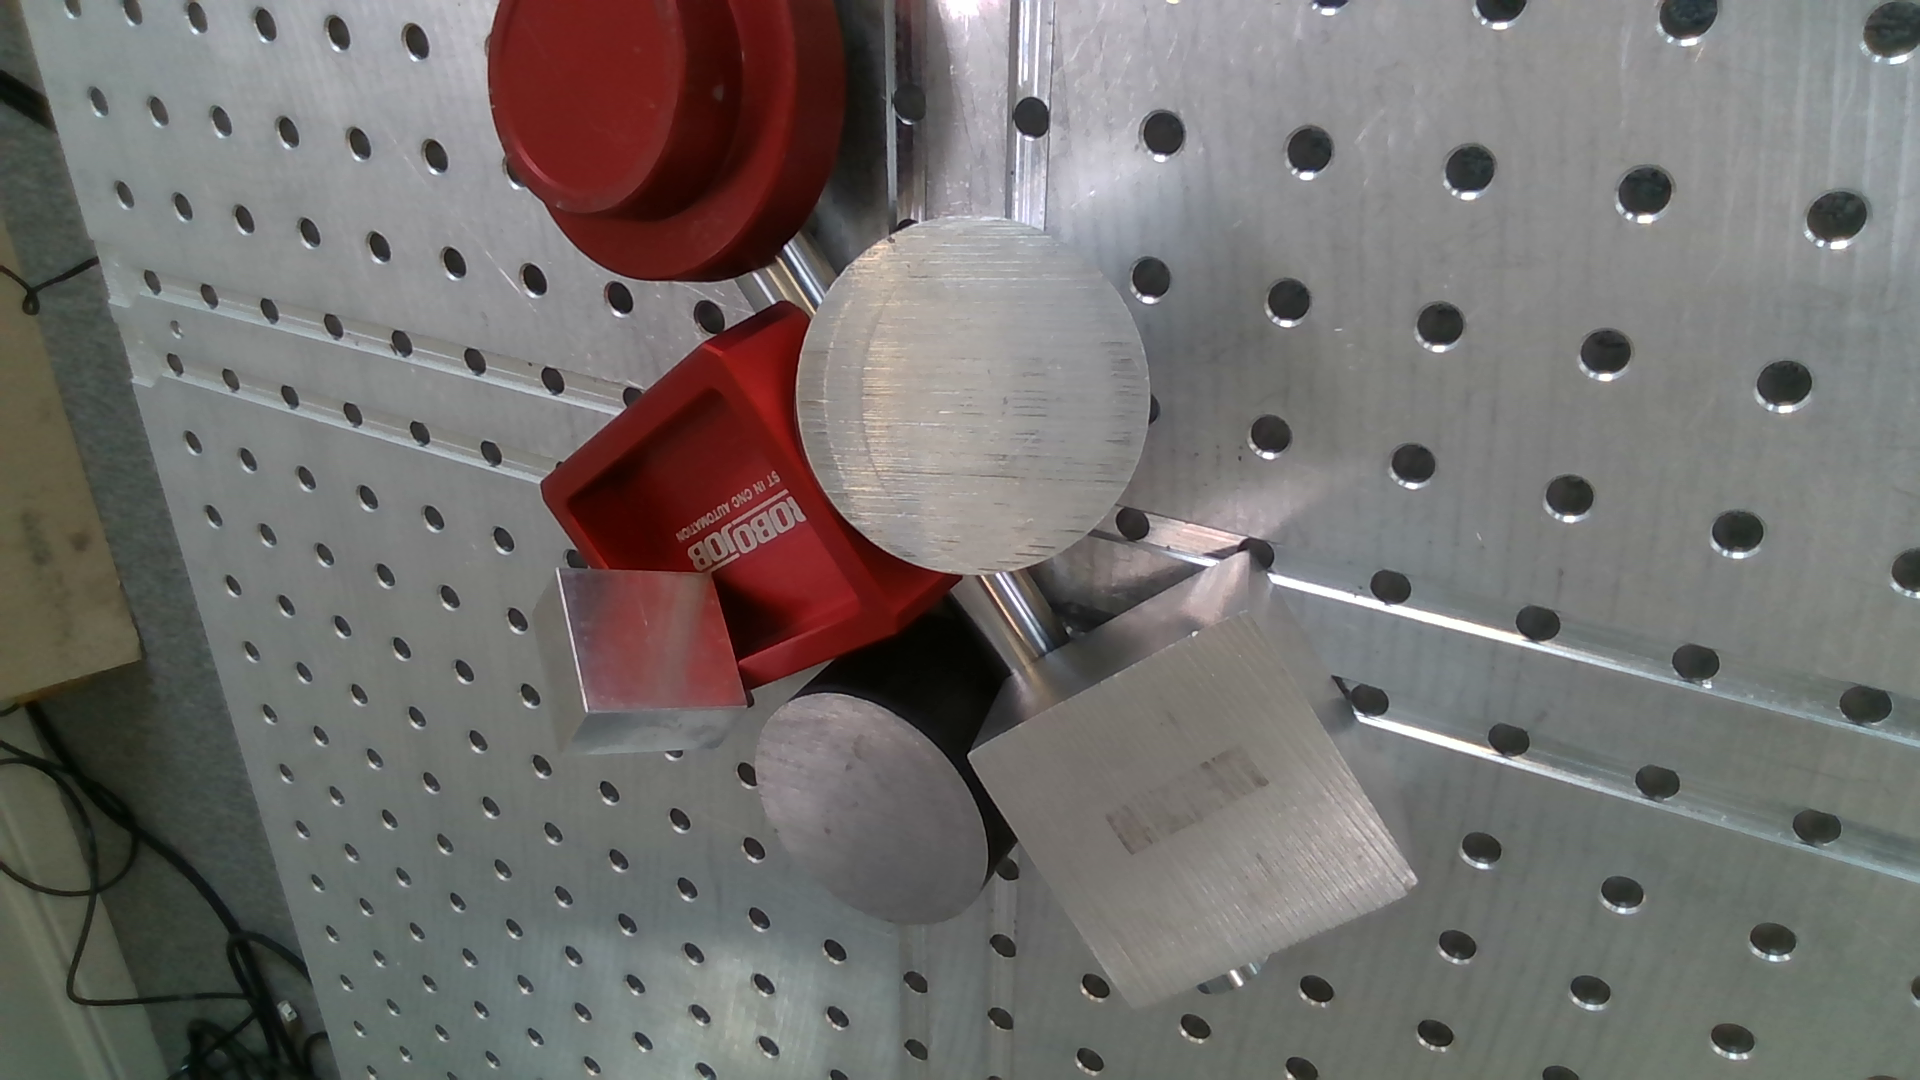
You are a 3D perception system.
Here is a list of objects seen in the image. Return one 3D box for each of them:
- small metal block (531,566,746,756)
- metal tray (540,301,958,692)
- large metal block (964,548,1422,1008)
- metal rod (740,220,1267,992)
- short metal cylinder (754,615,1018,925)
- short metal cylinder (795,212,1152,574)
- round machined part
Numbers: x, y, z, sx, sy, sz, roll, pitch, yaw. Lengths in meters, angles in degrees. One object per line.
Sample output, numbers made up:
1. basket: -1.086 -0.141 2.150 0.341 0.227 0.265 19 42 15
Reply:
1. small metal block: -0.098 0.036 0.418 0.025 0.050 0.050 -51 49 41
2. metal tray: -0.068 -0.004 0.410 0.130 0.030 0.090 -24 101 51
3. large metal block: 0.060 0.060 0.357 0.080 0.050 0.080 -30 98 19
4. metal rod: 0.001 0.001 0.394 0.025 0.025 0.300 -27 98 39
5. short metal cylinder: -0.016 0.070 0.423 0.080 0.050 0.080 15 122 25
6. short metal cylinder: 0.001 -0.034 0.331 0.080 0.050 0.080 0 93 -7
7. round machined part: -0.080 -0.116 0.350 0.098 0.042 0.098 6 102 32
